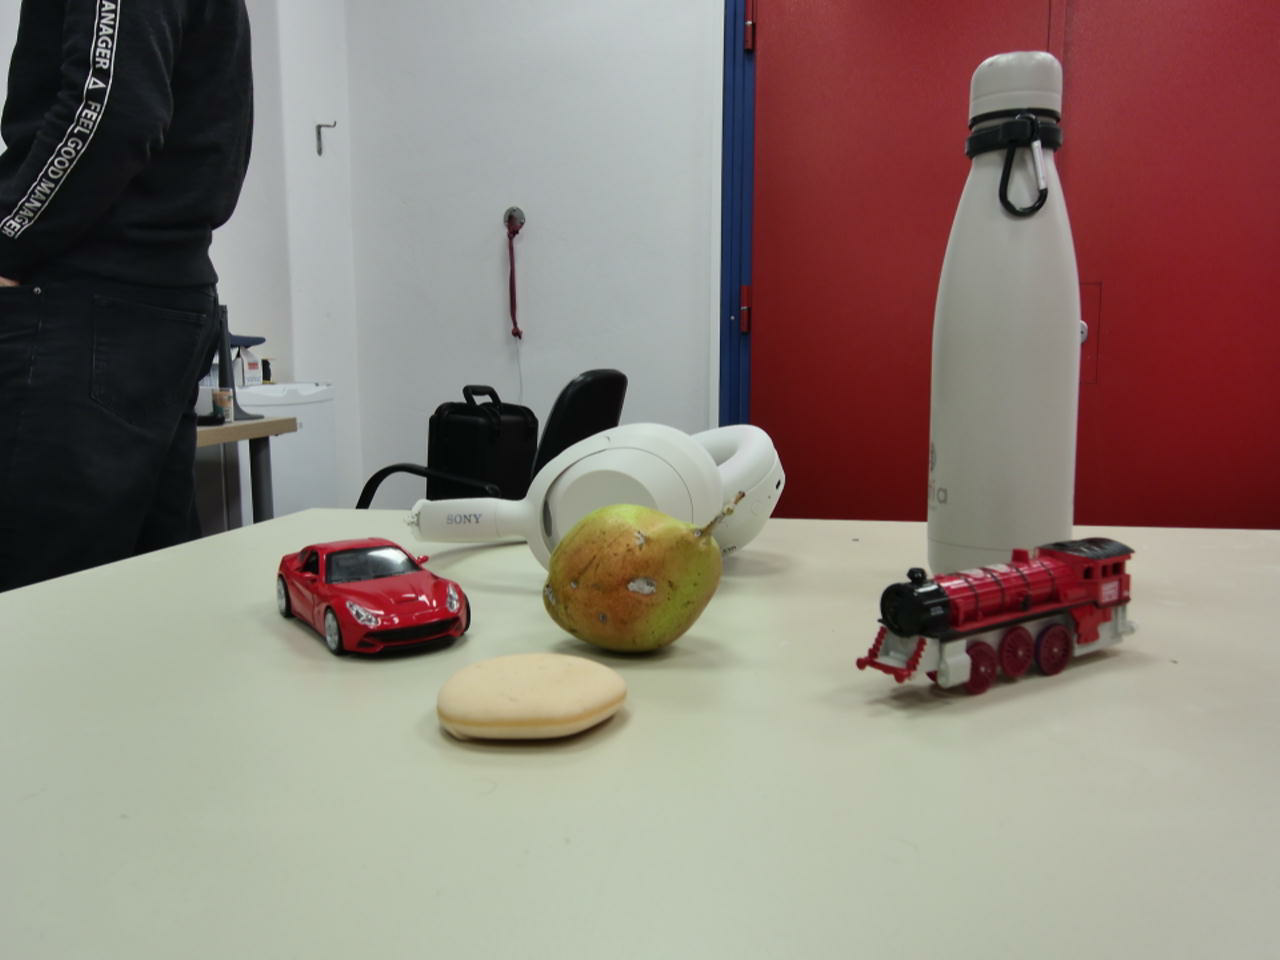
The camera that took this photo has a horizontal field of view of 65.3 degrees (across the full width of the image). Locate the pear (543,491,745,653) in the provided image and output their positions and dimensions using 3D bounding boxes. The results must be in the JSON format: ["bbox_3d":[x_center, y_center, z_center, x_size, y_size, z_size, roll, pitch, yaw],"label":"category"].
[{"bbox_3d":[-0.002,0.038,0.424,0.068,0.069,0.070,-2,4,-26],"label":"pear"}]
